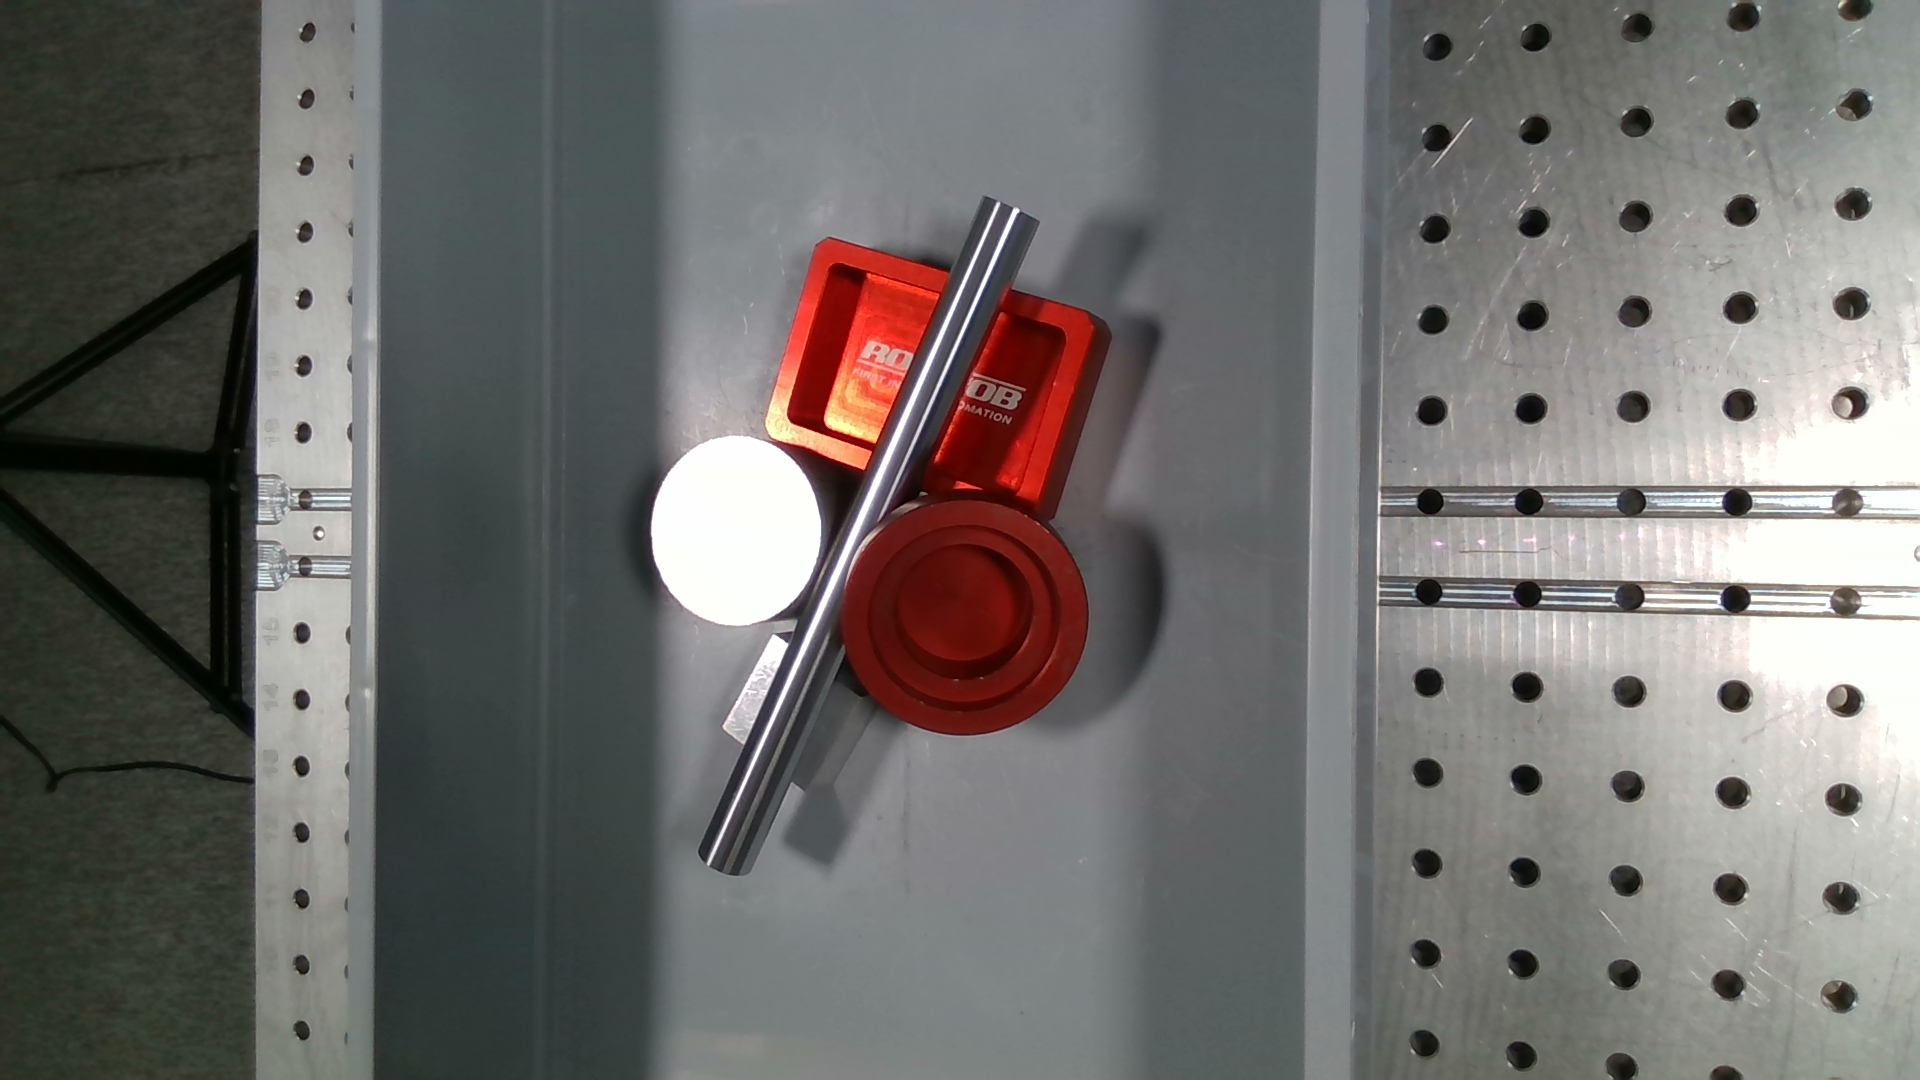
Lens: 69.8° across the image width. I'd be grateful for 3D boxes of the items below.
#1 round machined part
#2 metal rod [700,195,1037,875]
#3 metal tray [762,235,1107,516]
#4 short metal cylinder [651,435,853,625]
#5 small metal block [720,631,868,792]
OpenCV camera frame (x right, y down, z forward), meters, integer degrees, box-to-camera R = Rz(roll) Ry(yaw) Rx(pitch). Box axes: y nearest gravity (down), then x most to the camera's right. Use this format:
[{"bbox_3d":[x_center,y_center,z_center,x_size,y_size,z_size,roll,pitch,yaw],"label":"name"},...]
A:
[{"bbox_3d":[0.001,0.027,0.562,0.098,0.042,0.098,0,103,-2],"label":"round machined part"},{"bbox_3d":[-0.041,0.004,0.569,0.025,0.025,0.300,28,102,18],"label":"metal rod"},{"bbox_3d":[-0.011,-0.068,0.584,0.130,0.030,0.090,19,97,19],"label":"metal tray"},{"bbox_3d":[-0.087,-0.004,0.602,0.080,0.050,0.080,0,90,20],"label":"short metal cylinder"},{"bbox_3d":[-0.070,0.075,0.611,0.050,0.025,0.050,33,101,17],"label":"small metal block"}]
